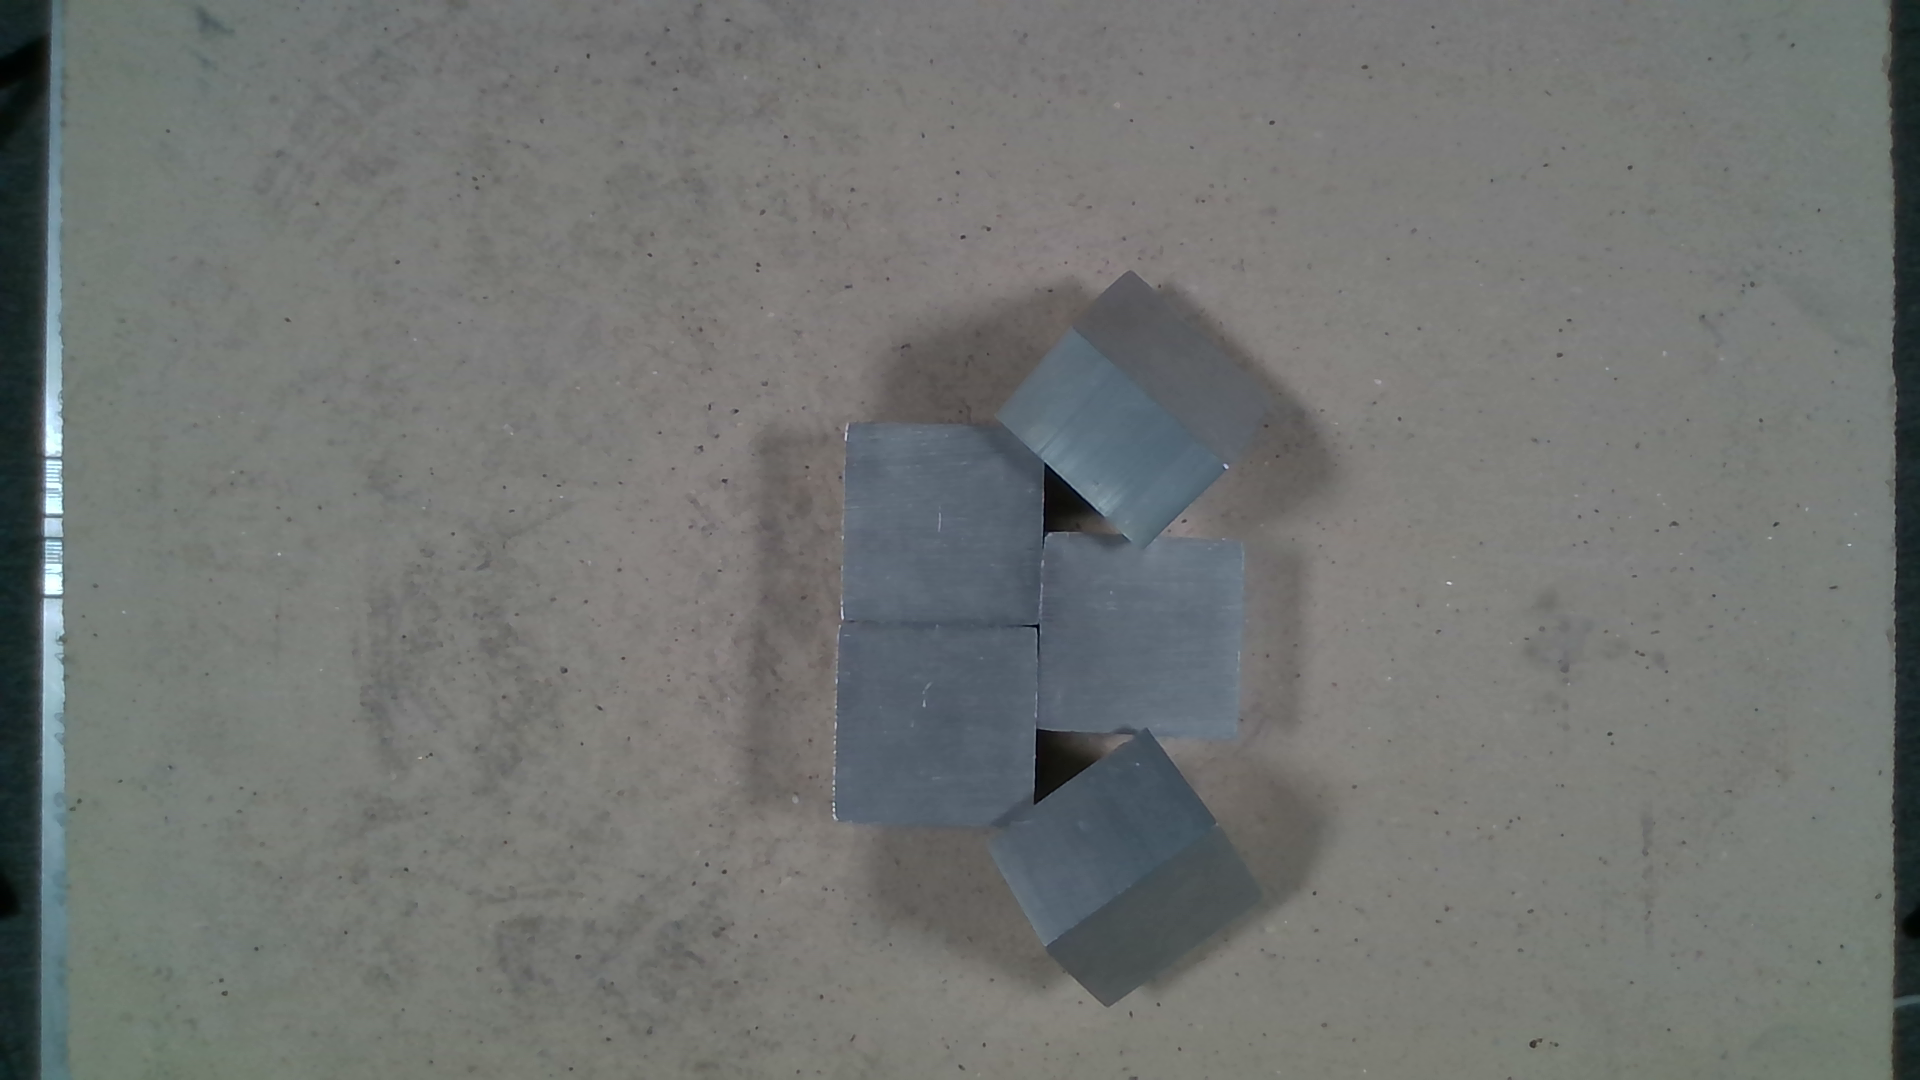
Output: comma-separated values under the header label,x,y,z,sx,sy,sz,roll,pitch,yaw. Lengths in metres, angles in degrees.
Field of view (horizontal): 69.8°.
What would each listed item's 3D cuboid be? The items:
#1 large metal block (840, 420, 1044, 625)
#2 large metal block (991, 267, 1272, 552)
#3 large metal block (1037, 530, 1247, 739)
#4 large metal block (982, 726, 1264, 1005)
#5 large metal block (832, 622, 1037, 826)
label,x,y,z,sx,sy,sz,roll,pitch,yaw
large metal block,-0.007,-0.007,0.574,0.080,0.050,0.080,1,90,0
large metal block,0.071,-0.054,0.552,0.080,0.080,0.050,43,125,0
large metal block,0.073,0.038,0.575,0.080,0.050,0.080,3,90,0
large metal block,0.067,0.133,0.555,0.080,0.080,0.050,-35,50,0
large metal block,-0.010,0.074,0.573,0.080,0.050,0.080,1,90,0
